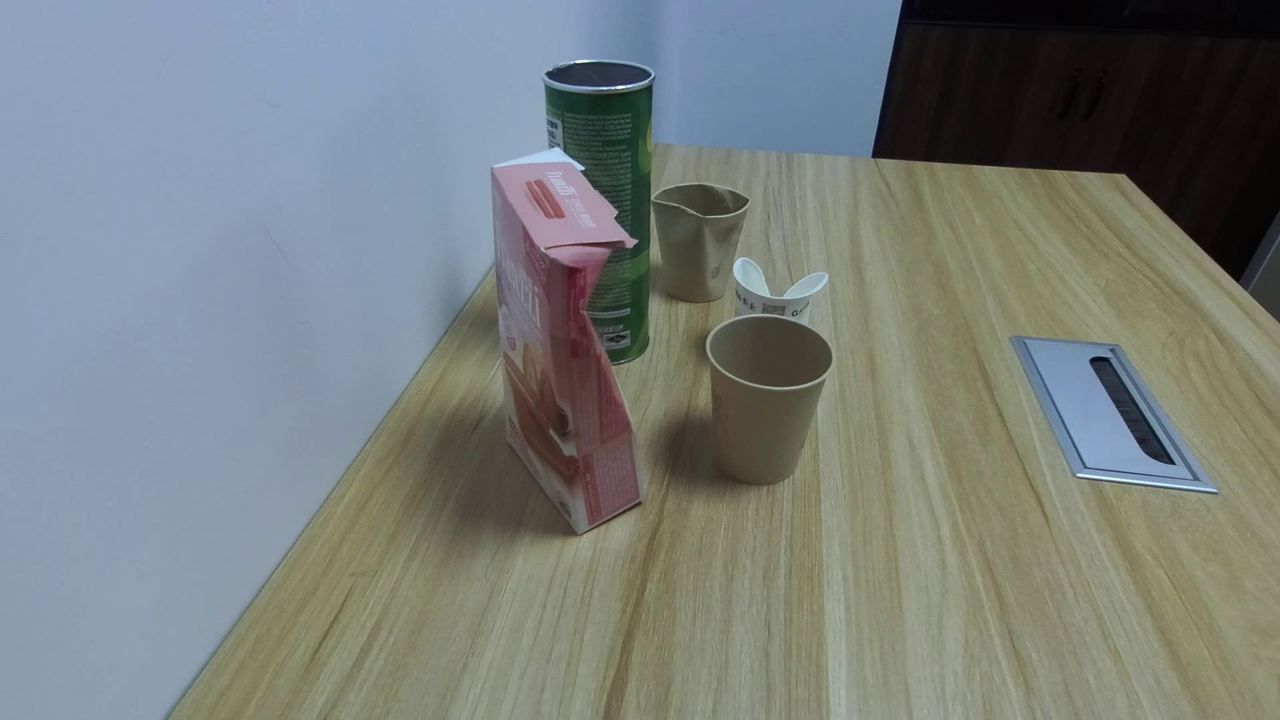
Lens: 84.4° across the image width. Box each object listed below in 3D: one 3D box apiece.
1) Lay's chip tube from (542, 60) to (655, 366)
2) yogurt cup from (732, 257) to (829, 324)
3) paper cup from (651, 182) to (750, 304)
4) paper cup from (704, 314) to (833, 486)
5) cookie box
[{"bbox_3d":[-0.026,-0.097,0.493,0.071,0.203,0.071,1,36,0],"label":"Lay's chip tube"},{"bbox_3d":[0.098,-0.033,0.519,0.067,0.070,0.067,1,37,-1],"label":"yogurt cup"},{"bbox_3d":[0.050,-0.099,0.598,0.071,0.084,0.066,28,43,35],"label":"paper cup"},{"bbox_3d":[0.073,0.027,0.422,0.075,0.082,0.075,1,36,0],"label":"paper cup"},{"bbox_3d":[-0.038,-0.003,0.383,0.055,0.184,0.118,-16,39,-21],"label":"cookie box"}]
